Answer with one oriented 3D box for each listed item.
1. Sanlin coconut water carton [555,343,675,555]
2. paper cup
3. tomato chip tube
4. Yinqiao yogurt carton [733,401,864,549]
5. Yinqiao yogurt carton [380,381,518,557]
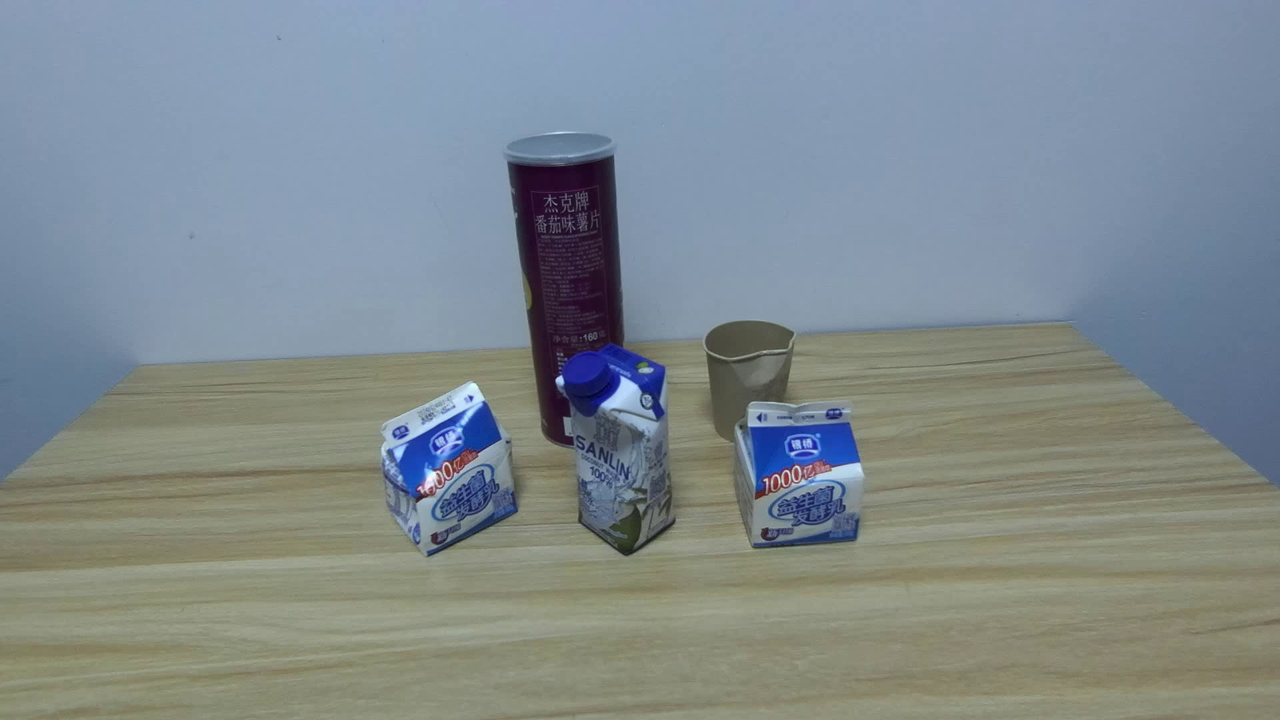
[{"bbox_3d":[-0.015,0.054,0.460,0.058,0.142,0.077,-32,40,-34],"label":"Sanlin coconut water carton"},{"bbox_3d":[0.085,0.019,0.564,0.068,0.081,0.073,7,28,18],"label":"paper cup"},{"bbox_3d":[-0.050,-0.048,0.547,0.078,0.234,0.078,-2,30,1],"label":"tomato chip tube"},{"bbox_3d":[0.106,0.066,0.475,0.076,0.092,0.073,-3,29,-3],"label":"Yinqiao yogurt carton"},{"bbox_3d":[-0.137,0.066,0.497,0.083,0.093,0.077,-23,34,-31],"label":"Yinqiao yogurt carton"}]
